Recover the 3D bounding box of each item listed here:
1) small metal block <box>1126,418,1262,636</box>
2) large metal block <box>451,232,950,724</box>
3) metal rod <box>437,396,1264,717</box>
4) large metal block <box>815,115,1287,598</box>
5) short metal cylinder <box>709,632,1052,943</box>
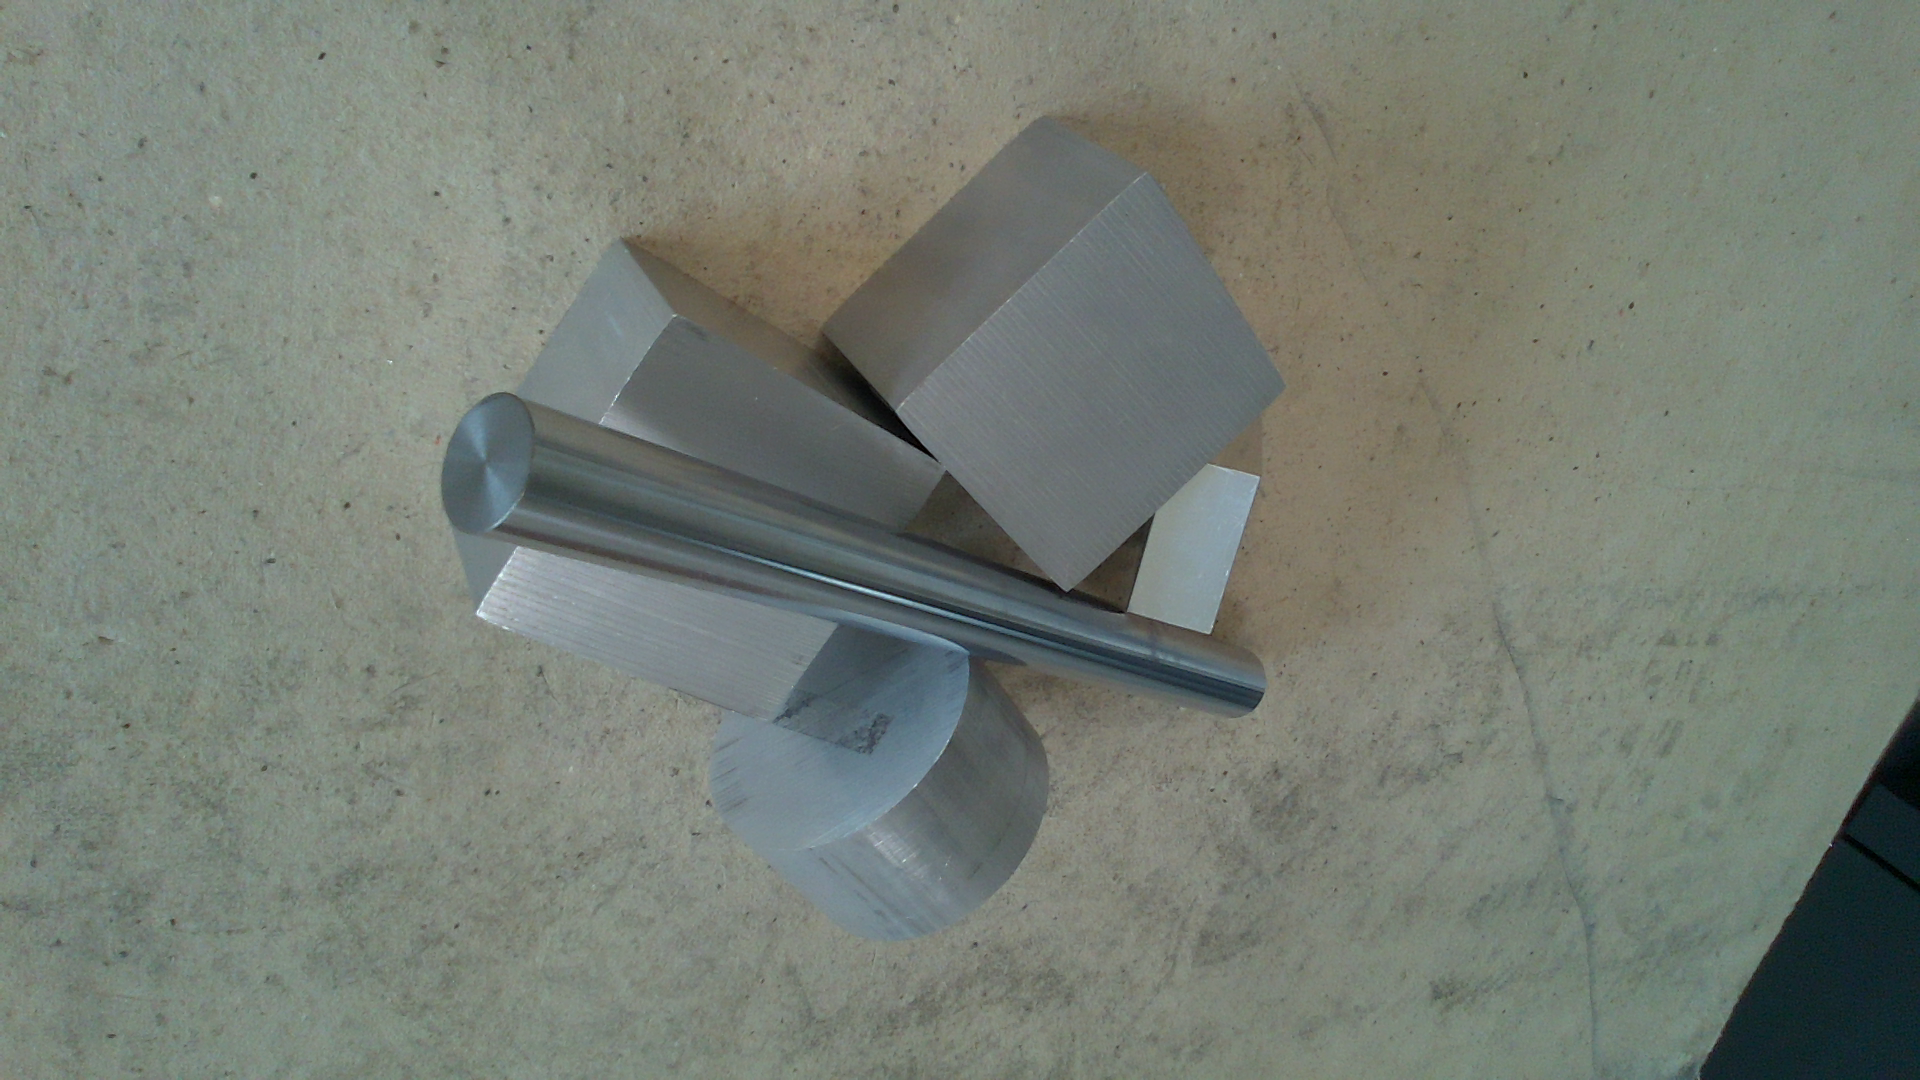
[{"bbox_3d":[0.069,-0.008,0.403,0.025,0.050,0.050,15,116,5],"label":"small metal block"},{"bbox_3d":[-0.064,-0.013,0.331,0.080,0.050,0.080,28,103,-37],"label":"large metal block"},{"bbox_3d":[0.006,0.018,0.351,0.301,0.025,0.025,19,109,-53],"label":"metal rod"},{"bbox_3d":[0.024,-0.046,0.355,0.080,0.050,0.080,-43,129,1],"label":"large metal block"},{"bbox_3d":[-0.021,0.062,0.380,0.080,0.080,0.050,-38,129,-3],"label":"short metal cylinder"}]
